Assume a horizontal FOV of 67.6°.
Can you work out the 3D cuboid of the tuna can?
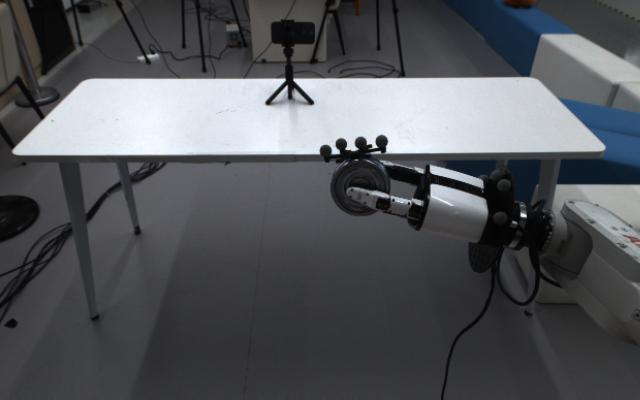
[{"bbox_3d":[0.062,-0.014,0.693,0.085,0.085,0.034,6,18,5],"label":"tuna can"}]
